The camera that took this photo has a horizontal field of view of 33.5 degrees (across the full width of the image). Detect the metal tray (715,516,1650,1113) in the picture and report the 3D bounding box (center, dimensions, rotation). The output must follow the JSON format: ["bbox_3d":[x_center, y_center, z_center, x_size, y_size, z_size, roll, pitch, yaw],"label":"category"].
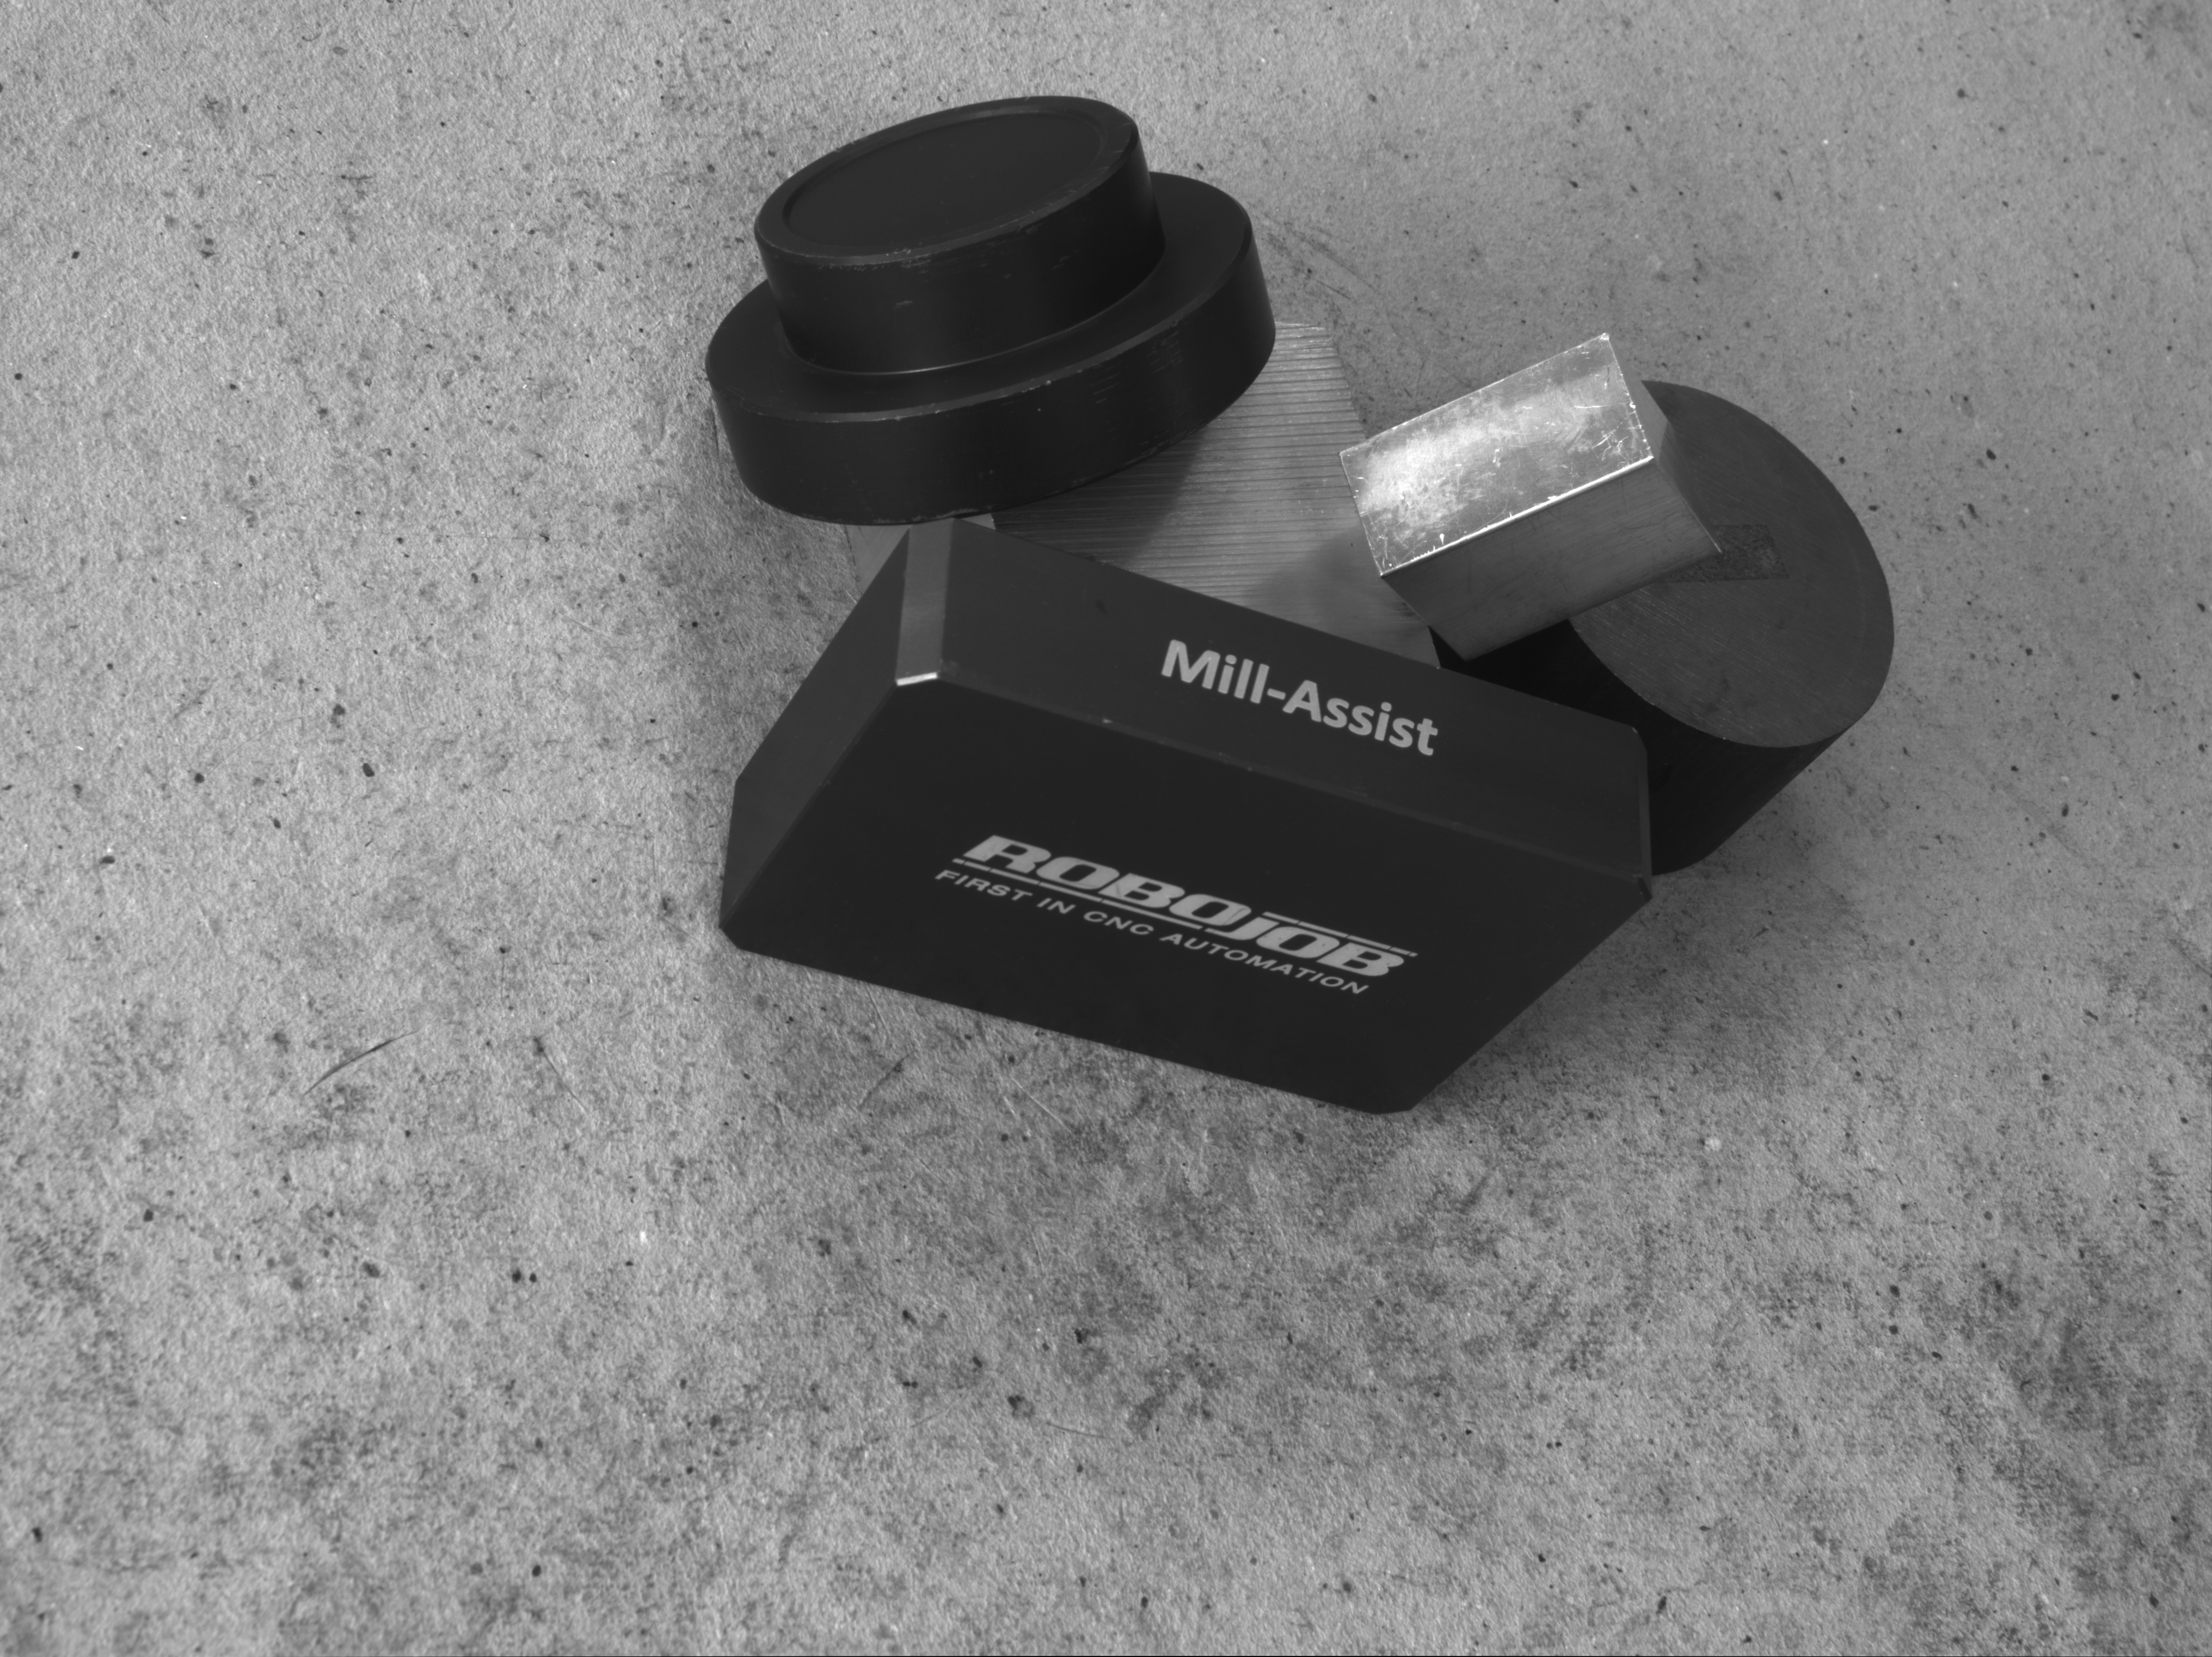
[{"bbox_3d":[0.012,0.001,0.603,0.130,0.090,0.030,16,55,-19],"label":"metal tray"}]

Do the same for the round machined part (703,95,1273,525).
[{"bbox_3d":[-0.023,-0.094,0.637,0.098,0.098,0.042,-42,130,-39],"label":"round machined part"}]

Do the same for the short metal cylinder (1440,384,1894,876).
[{"bbox_3d":[0.103,-0.038,0.703,0.080,0.050,0.080,13,56,-21],"label":"short metal cylinder"}]

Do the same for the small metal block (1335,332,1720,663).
[{"bbox_3d":[0.074,-0.056,0.639,0.050,0.050,0.025,34,37,-64],"label":"small metal block"}]

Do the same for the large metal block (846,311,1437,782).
[{"bbox_3d":[0.004,-0.043,0.654,0.080,0.050,0.080,-1,62,-29],"label":"large metal block"}]
